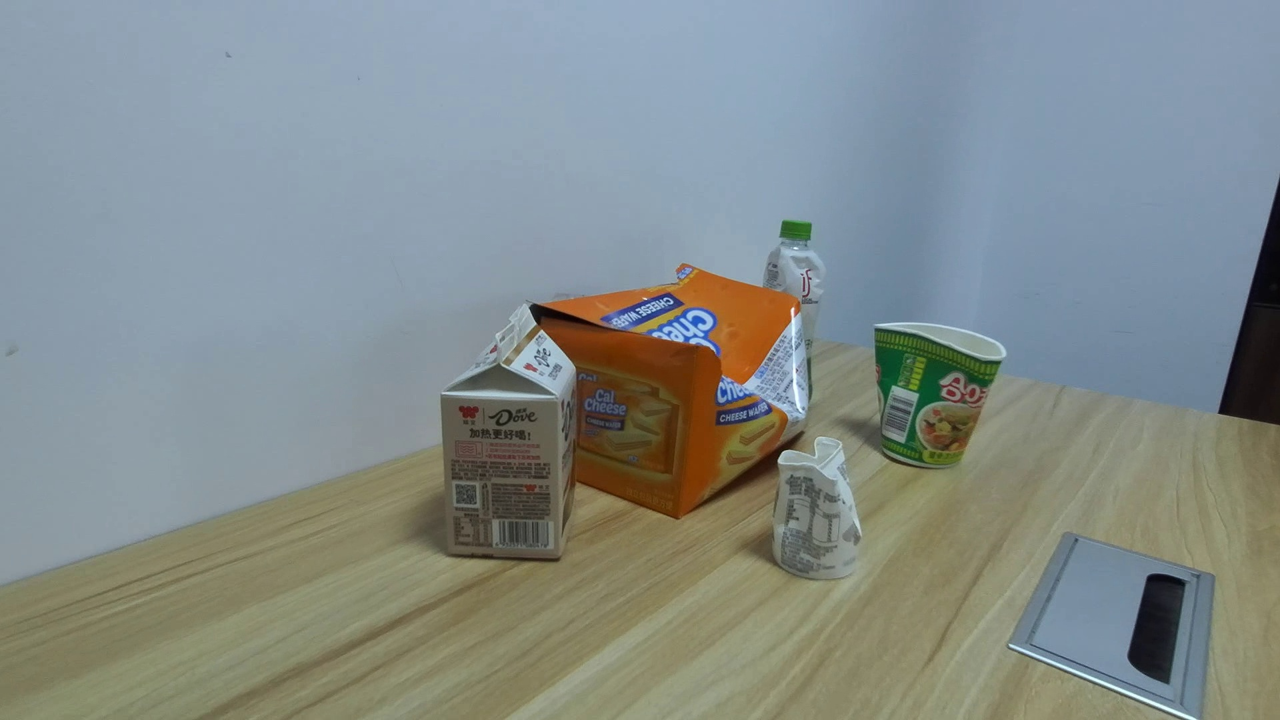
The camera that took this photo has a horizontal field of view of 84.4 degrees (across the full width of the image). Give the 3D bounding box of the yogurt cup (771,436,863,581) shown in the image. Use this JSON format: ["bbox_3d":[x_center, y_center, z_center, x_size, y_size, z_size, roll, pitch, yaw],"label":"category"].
[{"bbox_3d":[0.110,0.091,0.440,0.055,0.072,0.055,-15,21,-42],"label":"yogurt cup"}]

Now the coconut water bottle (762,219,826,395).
[{"bbox_3d":[0.155,-0.048,0.731,0.067,0.187,0.067,3,11,0],"label":"coconut water bottle"}]

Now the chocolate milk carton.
[{"bbox_3d":[-0.081,0.043,0.456,0.074,0.148,0.075,2,16,2],"label":"chocolate milk carton"}]

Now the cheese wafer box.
[{"bbox_3d":[0.047,0.011,0.592,0.190,0.145,0.220,12,19,35],"label":"cheese wafer box"}]

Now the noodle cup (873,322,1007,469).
[{"bbox_3d":[0.247,0.029,0.601,0.070,0.111,0.115,-1,17,-6],"label":"noodle cup"}]
